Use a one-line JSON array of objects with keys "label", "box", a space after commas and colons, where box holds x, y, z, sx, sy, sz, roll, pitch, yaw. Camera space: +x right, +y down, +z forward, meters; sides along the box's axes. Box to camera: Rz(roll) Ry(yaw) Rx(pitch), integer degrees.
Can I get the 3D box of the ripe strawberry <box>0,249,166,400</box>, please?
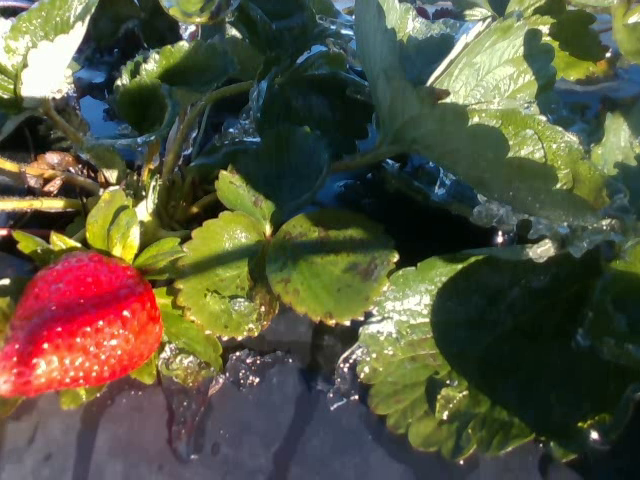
[{"label": "ripe strawberry", "box": [-0.073, 0.032, 0.175, 0.042, 0.046, 0.061, 4, 21, 22]}]
